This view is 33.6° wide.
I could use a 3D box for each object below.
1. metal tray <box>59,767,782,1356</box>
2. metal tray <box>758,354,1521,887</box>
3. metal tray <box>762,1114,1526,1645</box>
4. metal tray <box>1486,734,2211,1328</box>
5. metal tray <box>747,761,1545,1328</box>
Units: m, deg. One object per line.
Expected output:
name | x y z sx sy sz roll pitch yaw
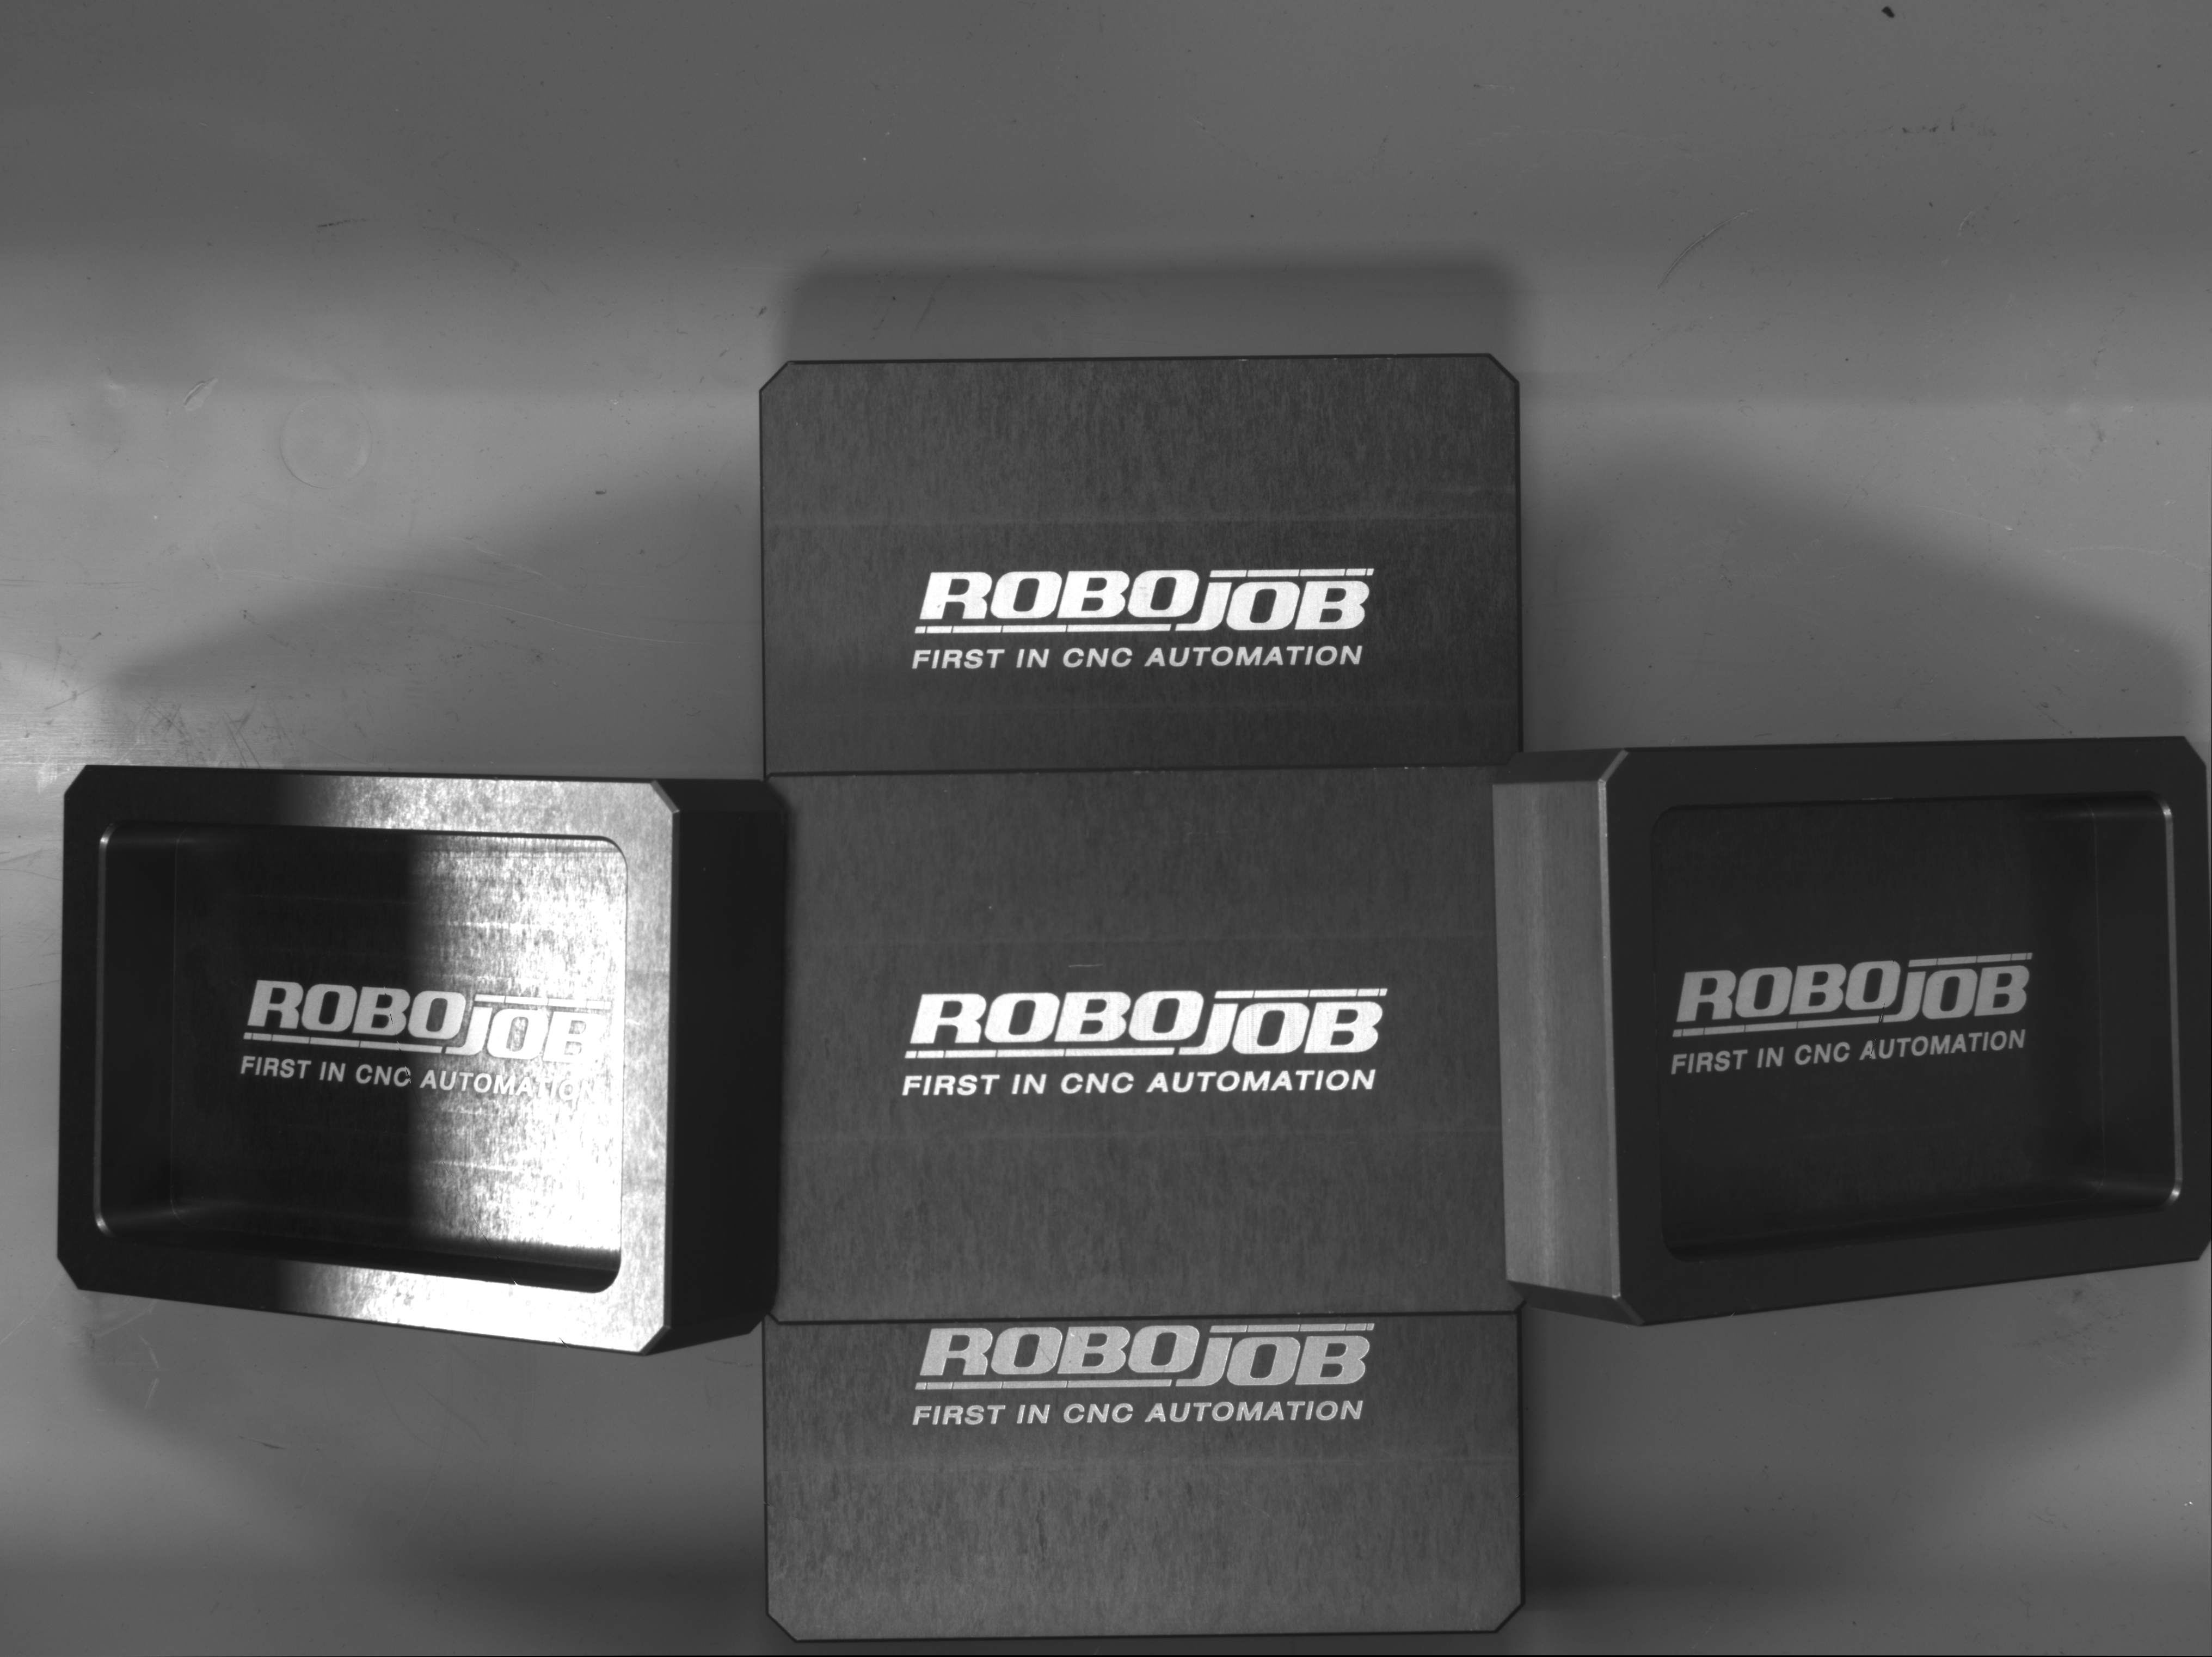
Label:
metal tray | -0.116 0.036 0.611 0.130 0.030 0.090 1 91 29
metal tray | 0.006 -0.036 0.641 0.130 0.030 0.090 0 90 0
metal tray | 0.006 0.094 0.640 0.130 0.030 0.090 0 90 0
metal tray | 0.126 0.031 0.610 0.130 0.030 0.090 -2 91 -29
metal tray | 0.006 0.035 0.611 0.130 0.030 0.090 -1 90 0
